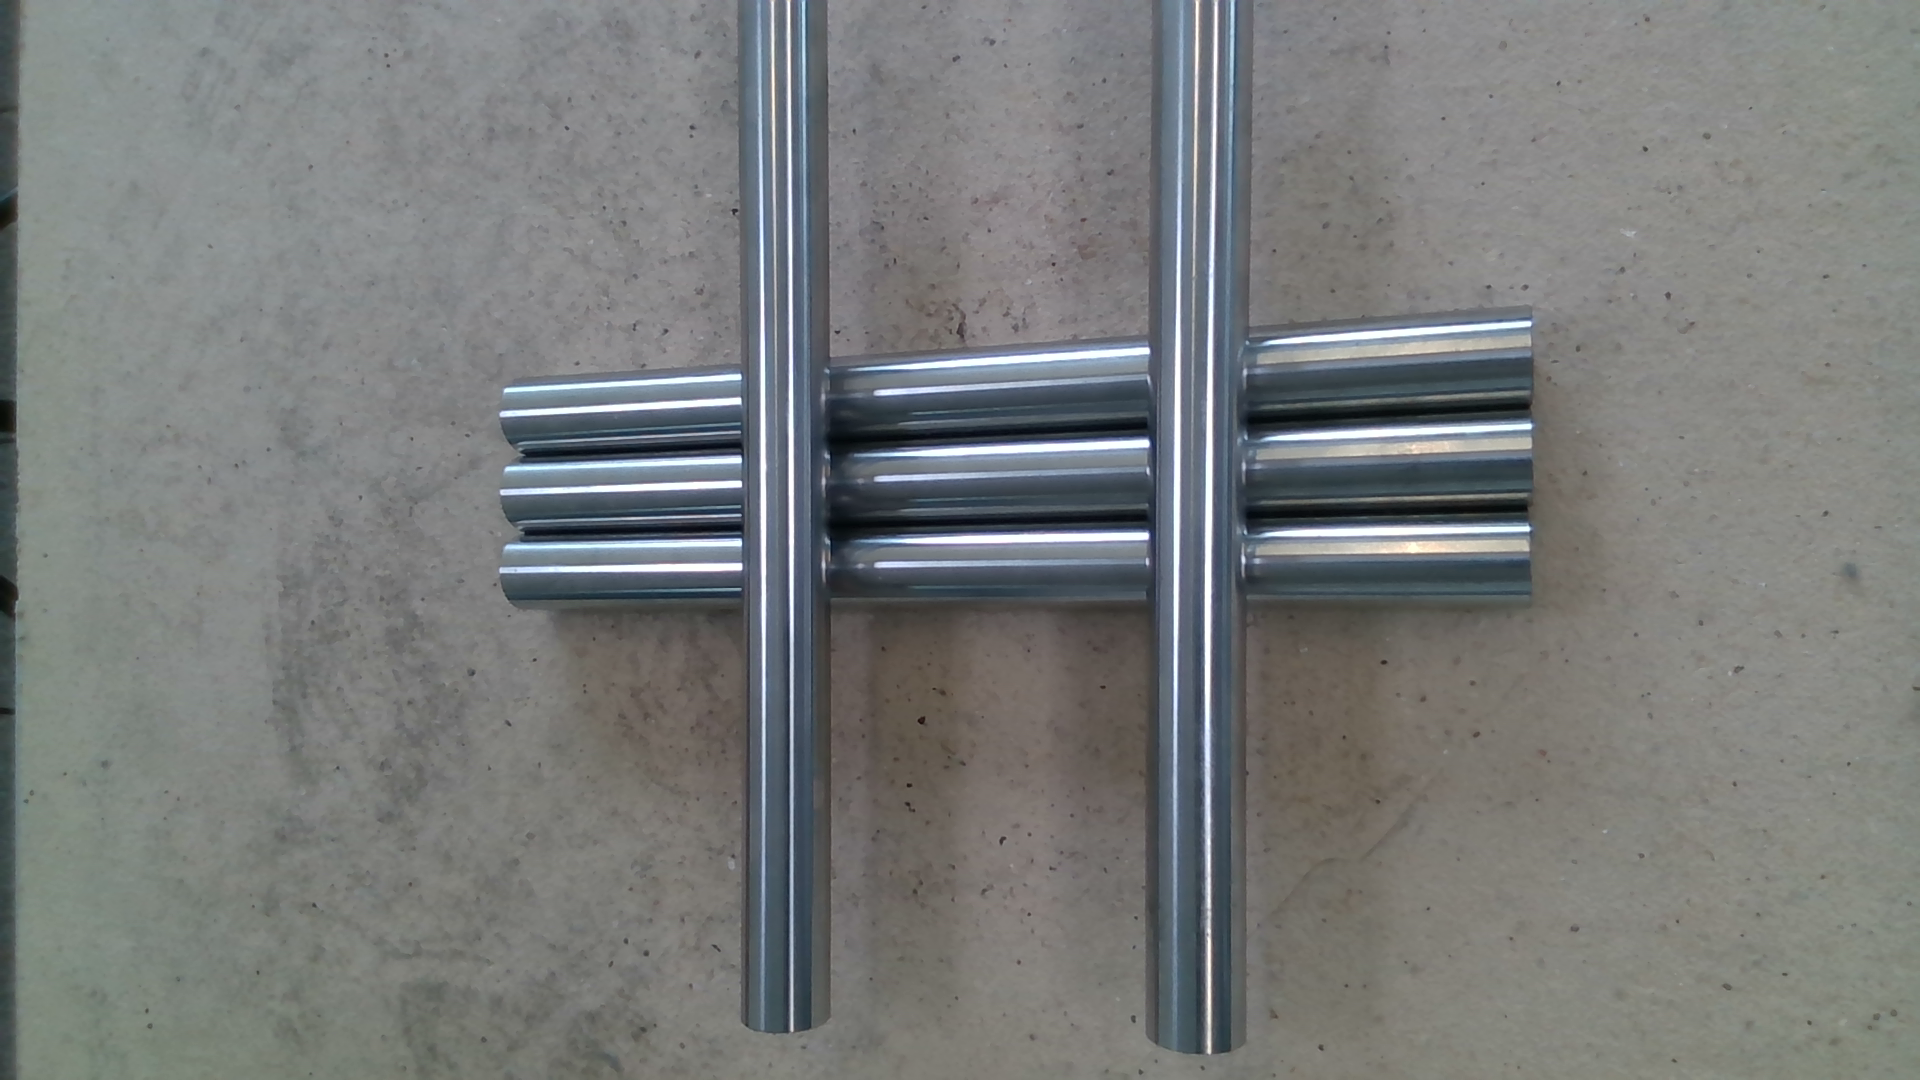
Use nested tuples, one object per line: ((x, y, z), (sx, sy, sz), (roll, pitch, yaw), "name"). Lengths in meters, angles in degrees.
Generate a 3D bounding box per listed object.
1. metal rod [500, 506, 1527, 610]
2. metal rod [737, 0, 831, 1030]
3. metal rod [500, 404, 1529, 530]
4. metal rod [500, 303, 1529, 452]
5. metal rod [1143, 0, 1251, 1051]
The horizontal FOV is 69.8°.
((0.000, 0.007, 0.394), (0.300, 0.025, 0.025), (-1, 90, 20), "metal rod")
((-0.049, -0.017, 0.385), (0.025, 0.025, 0.300), (0, 90, 20), "metal rod")
((0.000, -0.018, 0.394), (0.300, 0.025, 0.025), (-1, 90, 20), "metal rod")
((0.000, -0.043, 0.394), (0.300, 0.025, 0.025), (-1, 90, 20), "metal rod")
((0.059, -0.026, 0.345), (0.025, 0.025, 0.300), (0, 91, 20), "metal rod")
